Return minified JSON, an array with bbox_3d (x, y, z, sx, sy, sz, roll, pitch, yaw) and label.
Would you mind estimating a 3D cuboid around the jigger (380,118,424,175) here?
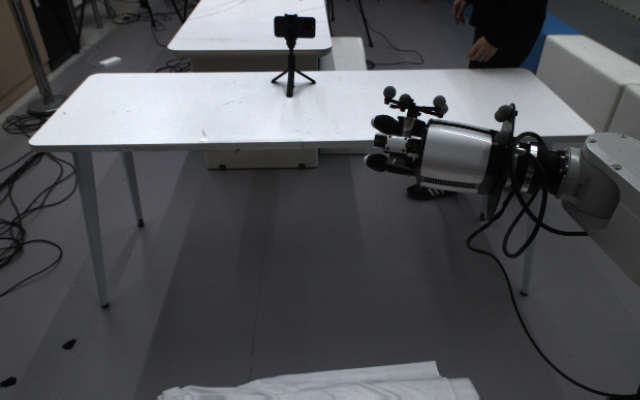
[{"bbox_3d":[0.123,-0.080,0.684,0.043,0.071,0.043,14,1,0],"label":"jigger"}]
